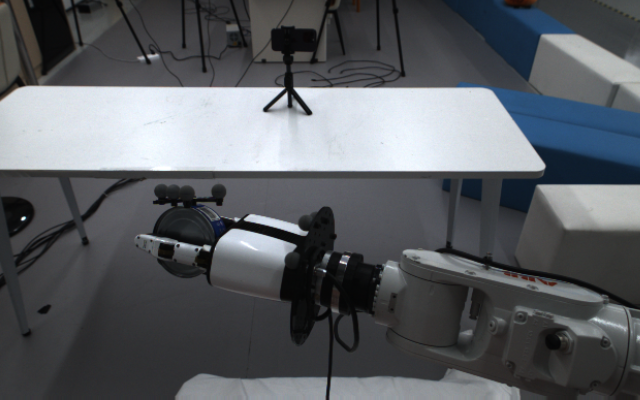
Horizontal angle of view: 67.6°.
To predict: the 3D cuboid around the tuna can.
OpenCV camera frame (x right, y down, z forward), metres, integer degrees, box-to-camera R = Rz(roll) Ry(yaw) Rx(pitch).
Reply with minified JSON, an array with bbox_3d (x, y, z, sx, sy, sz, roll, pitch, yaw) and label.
[{"bbox_3d":[-0.153,0.049,0.579,0.085,0.085,0.034,15,9,18],"label":"tuna can"}]
